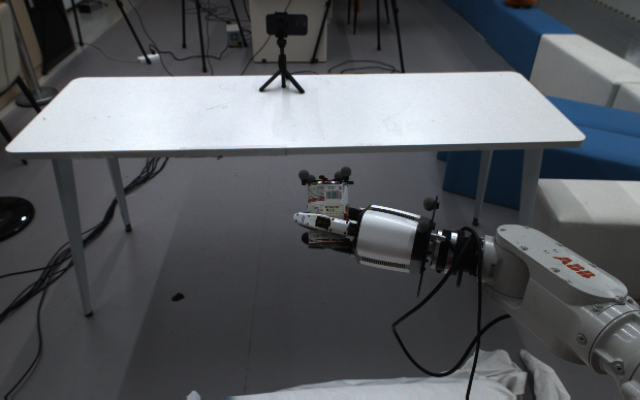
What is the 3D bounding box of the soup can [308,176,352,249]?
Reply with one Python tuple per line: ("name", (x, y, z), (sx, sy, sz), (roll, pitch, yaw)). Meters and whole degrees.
("soup can", (0.014, 0.026, 0.771), (0.067, 0.101, 0.067), (-1, -9, 0))
